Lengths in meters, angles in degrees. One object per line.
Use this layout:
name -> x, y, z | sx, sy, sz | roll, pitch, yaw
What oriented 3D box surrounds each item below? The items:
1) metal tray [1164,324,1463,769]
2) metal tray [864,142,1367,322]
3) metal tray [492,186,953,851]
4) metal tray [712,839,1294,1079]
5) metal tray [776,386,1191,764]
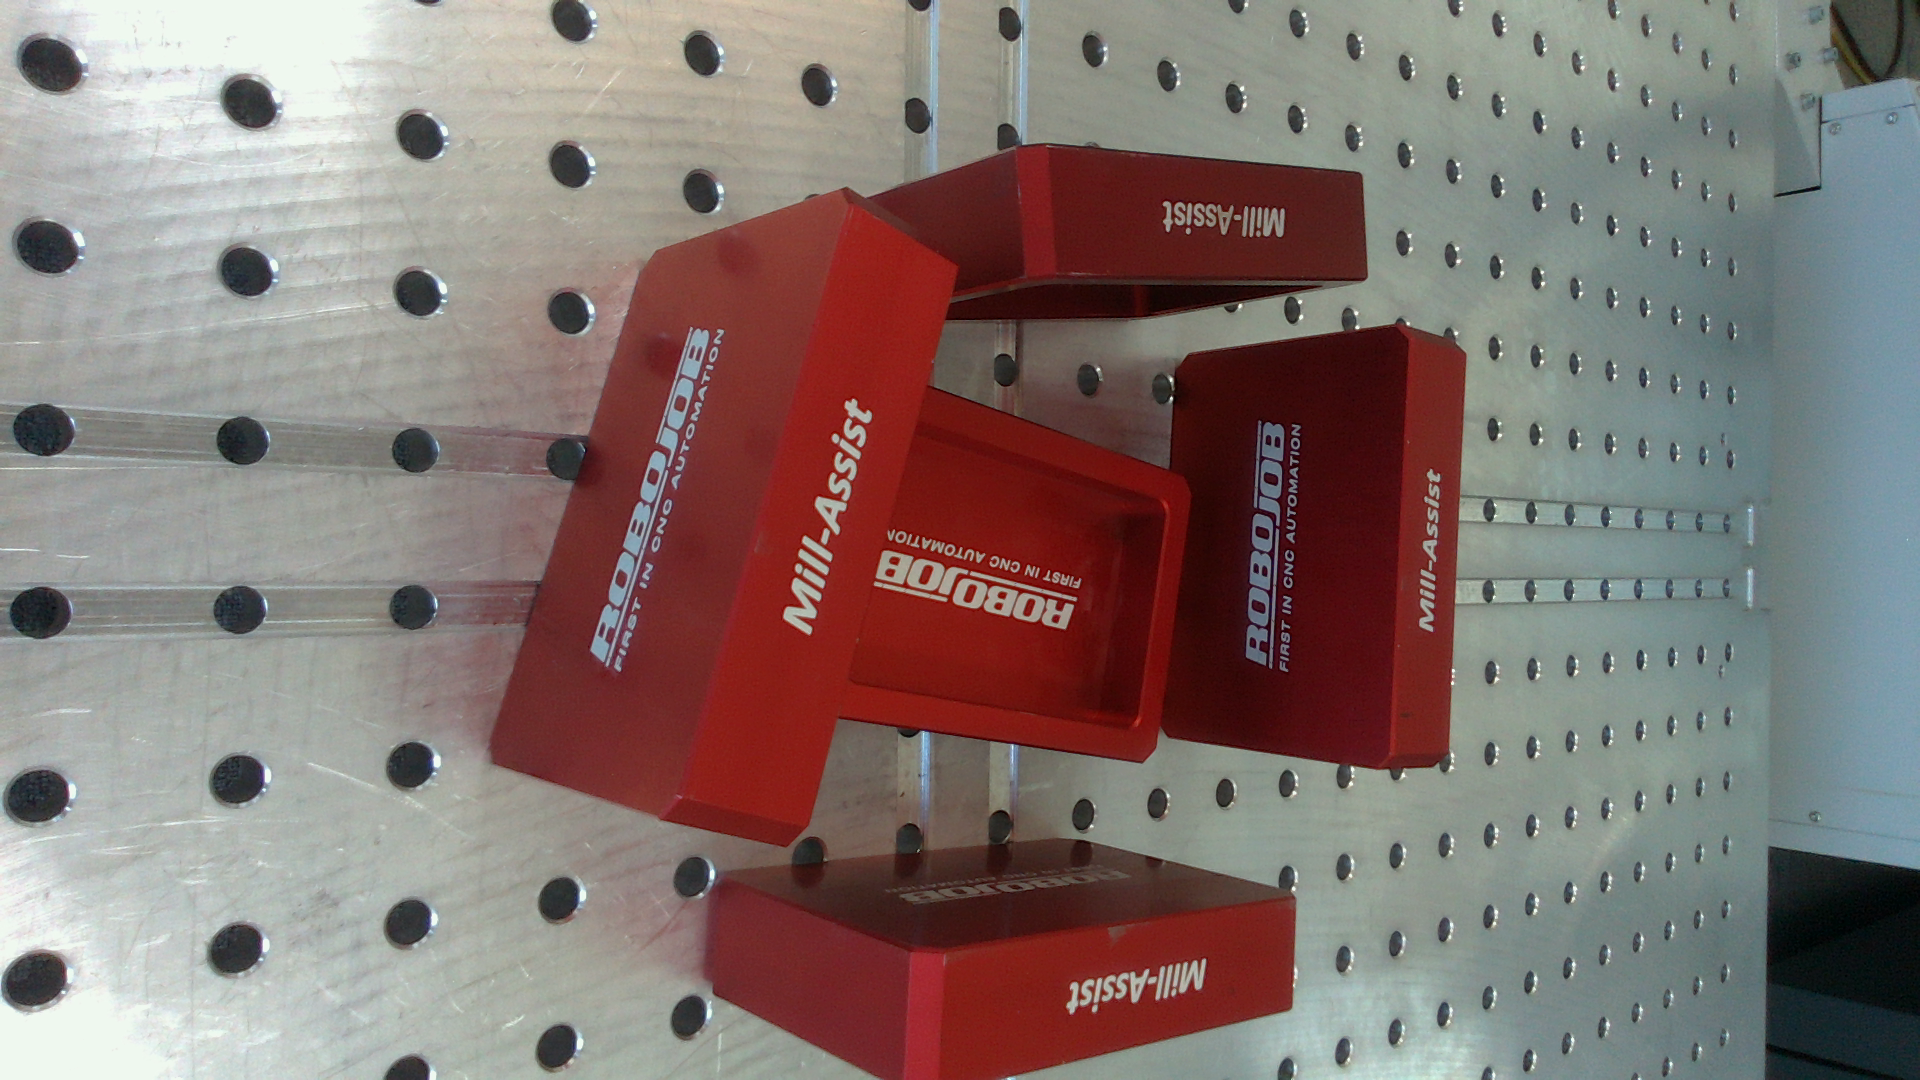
metal tray -> 0.110, 0.002, 0.441 | 0.030, 0.090, 0.130 | 6, 86, -40
metal tray -> 0.038, -0.081, 0.380 | 0.131, 0.090, 0.030 | -8, 95, -39
metal tray -> -0.055, -0.005, 0.304 | 0.030, 0.090, 0.130 | 23, 75, -37
metal tray -> 0.013, 0.105, 0.361 | 0.131, 0.090, 0.030 | 5, 87, -39
metal tray -> 0.008, 0.012, 0.394 | 0.131, 0.030, 0.090 | 15, 81, -39
